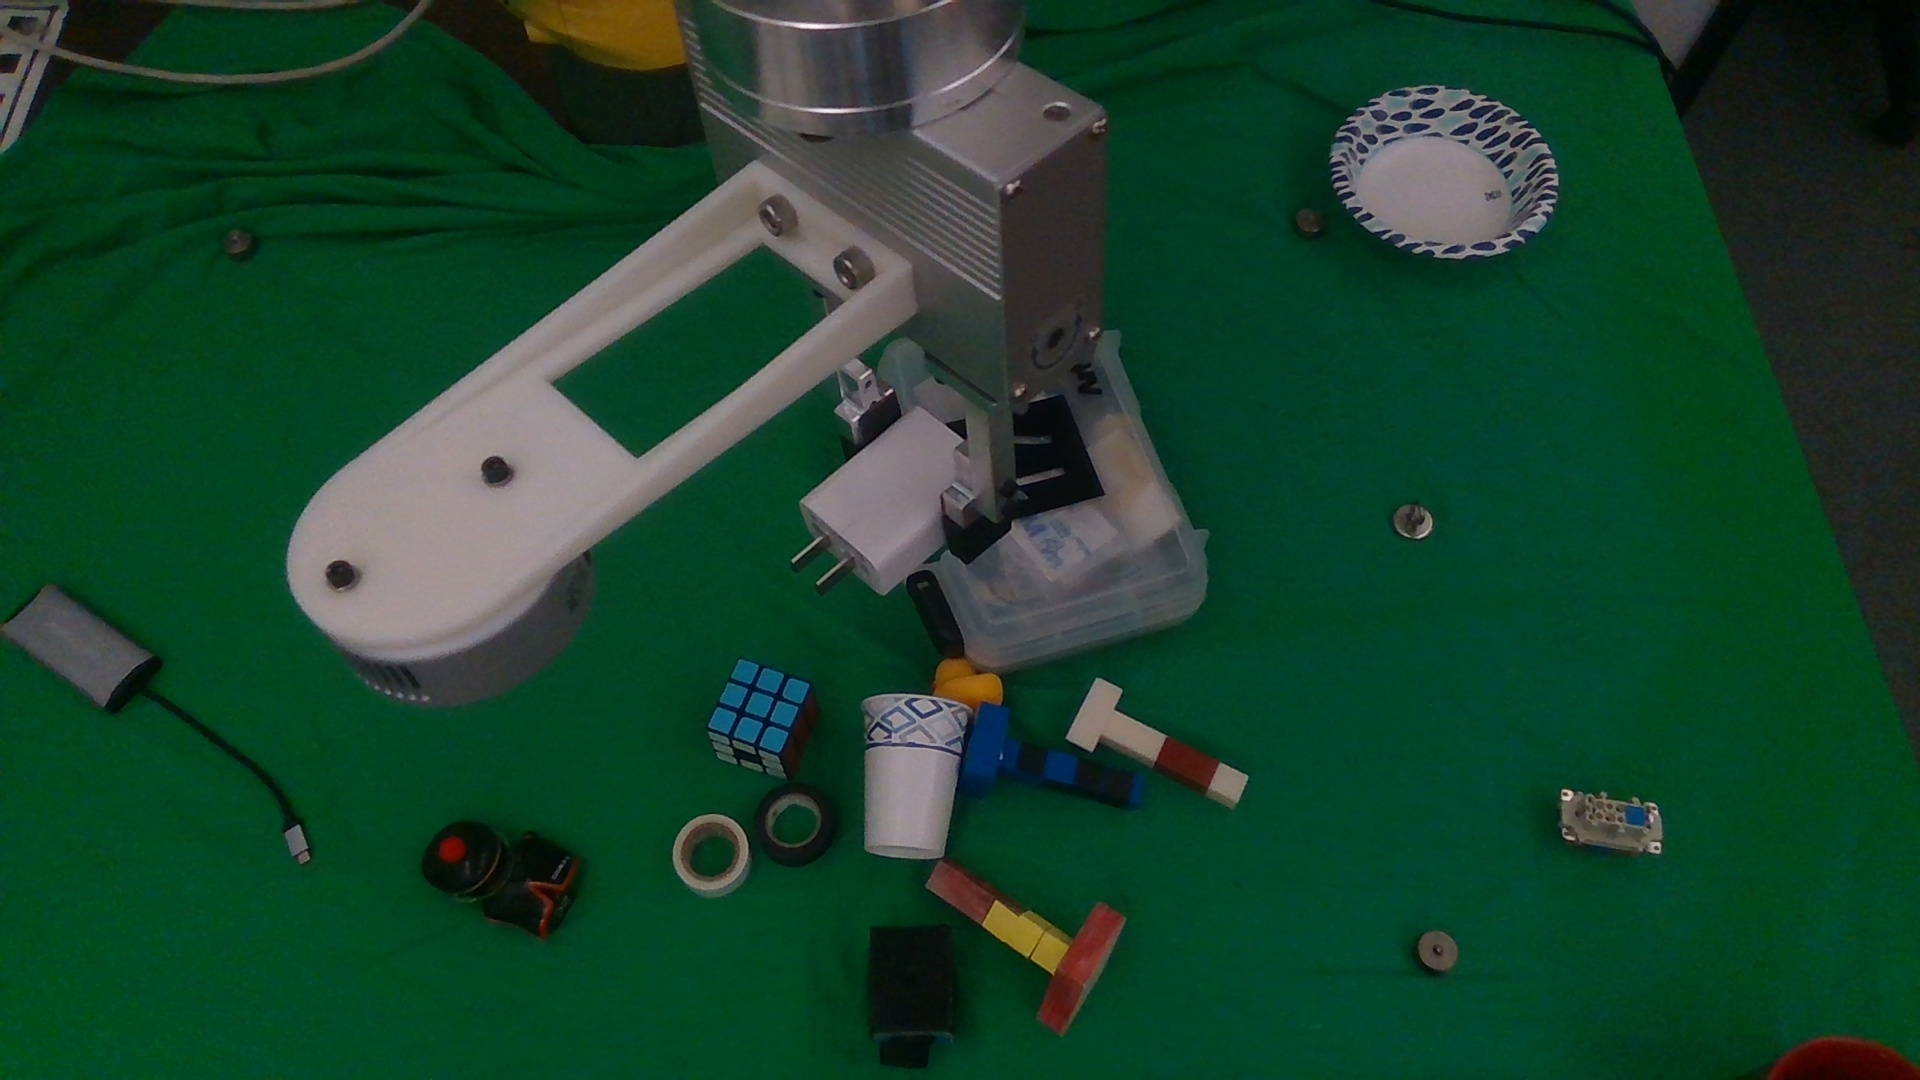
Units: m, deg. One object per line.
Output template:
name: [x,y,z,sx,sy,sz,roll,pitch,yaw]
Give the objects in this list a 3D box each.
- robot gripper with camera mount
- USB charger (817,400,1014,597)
robot gripper with camera mount: [-0.065,-0.021,0.384,0.193,0.158,0.119,-39,62,-21]
USB charger: [-0.020,-0.012,0.466,0.045,0.029,0.075,29,58,16]
